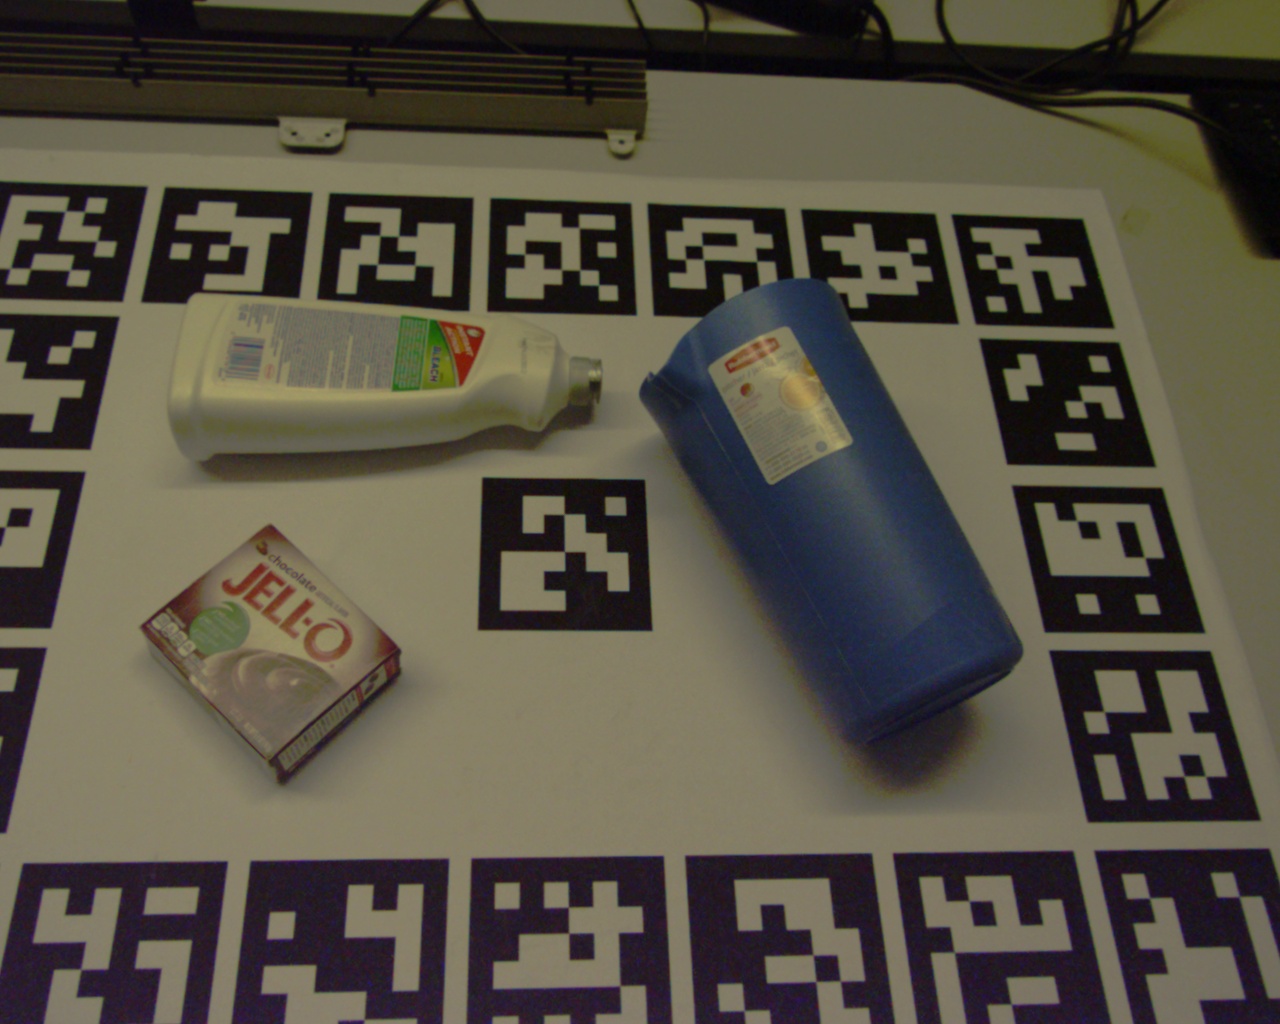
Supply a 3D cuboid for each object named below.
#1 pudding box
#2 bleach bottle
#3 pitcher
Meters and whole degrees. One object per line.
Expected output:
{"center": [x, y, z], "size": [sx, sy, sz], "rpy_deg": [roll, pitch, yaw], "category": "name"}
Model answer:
{"center": [-0.203, 0.085, 0.647], "size": [0.114, 0.039, 0.089], "rpy_deg": [41, 60, 13], "category": "pudding box"}
{"center": [-0.153, -0.073, 0.727], "size": [0.249, 0.068, 0.103], "rpy_deg": [-2, 67, -9], "category": "bleach bottle"}
{"center": [0.113, 0.013, 0.690], "size": [0.186, 0.134, 0.244], "rpy_deg": [-7, 64, -49], "category": "pitcher"}
